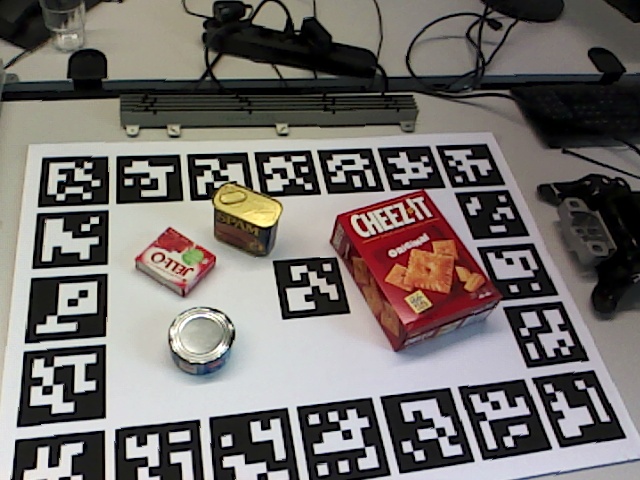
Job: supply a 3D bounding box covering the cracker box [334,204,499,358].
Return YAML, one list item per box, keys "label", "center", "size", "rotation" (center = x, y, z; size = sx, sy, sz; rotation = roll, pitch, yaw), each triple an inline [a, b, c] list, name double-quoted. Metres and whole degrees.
- label: "cracker box"
  center: [0.145, 0.054, 0.955]
  size: [0.163, 0.072, 0.215]
  rotation: [-16, 55, -23]

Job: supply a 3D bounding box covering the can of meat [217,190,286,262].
- label: "can of meat"
  center: [-0.109, -0.019, 0.964]
  size: [0.102, 0.083, 0.058]
  rotation: [20, 51, 7]

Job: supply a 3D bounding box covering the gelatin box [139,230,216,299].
- label: "gelatin box"
  center: [-0.213, 0.035, 0.927]
  size: [0.089, 0.030, 0.073]
  rotation: [31, 50, 11]

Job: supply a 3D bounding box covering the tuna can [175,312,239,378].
- label: "tuna can"
  center: [-0.154, 0.143, 0.845]
  size: [0.085, 0.033, 0.086]
  rotation: [4, 55, -6]
